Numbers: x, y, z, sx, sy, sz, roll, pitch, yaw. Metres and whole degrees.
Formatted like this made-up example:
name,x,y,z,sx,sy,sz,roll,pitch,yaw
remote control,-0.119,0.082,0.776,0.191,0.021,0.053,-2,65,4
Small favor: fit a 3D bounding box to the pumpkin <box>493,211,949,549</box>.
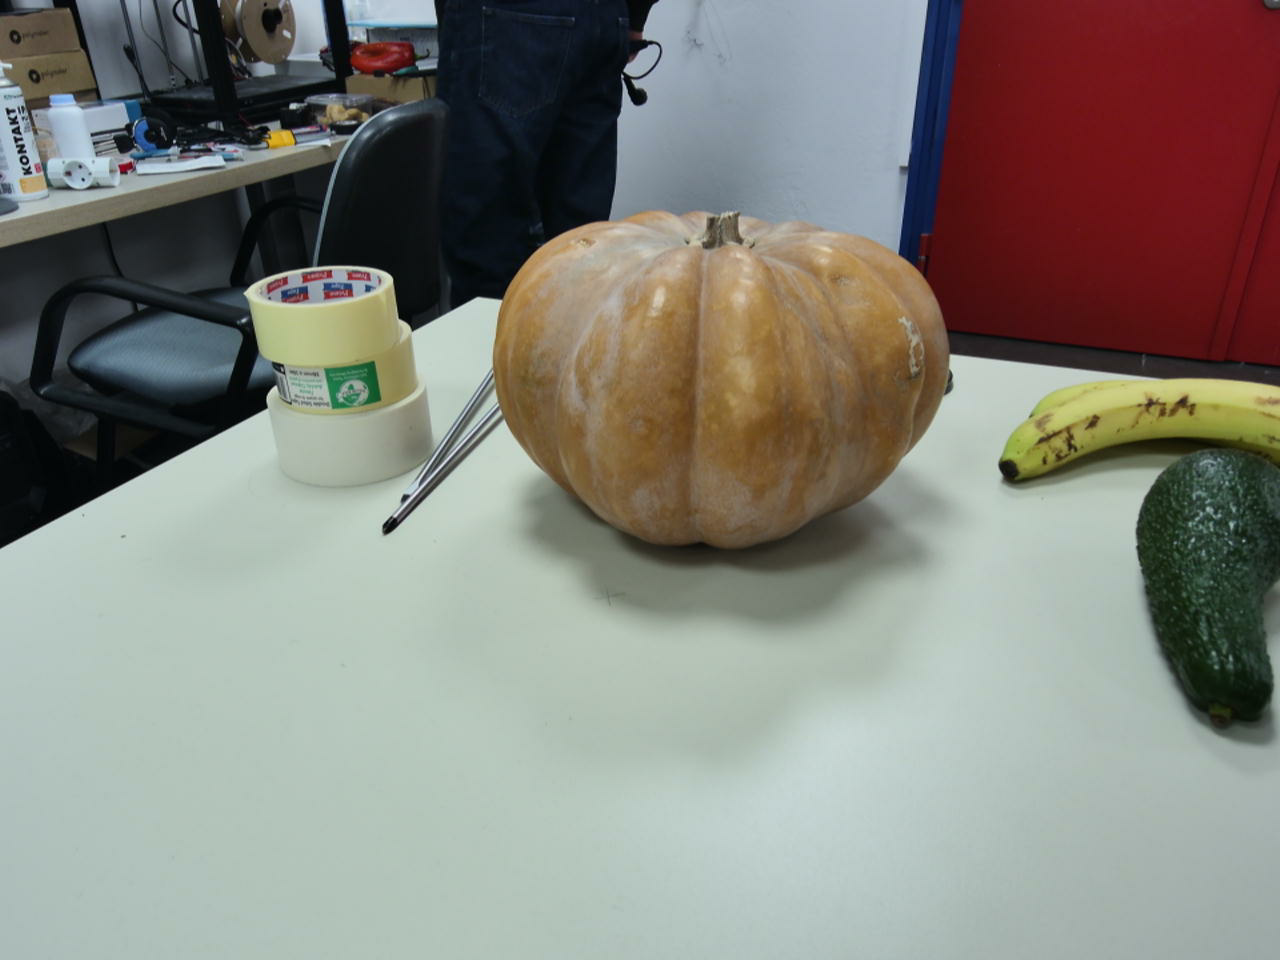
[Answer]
name,x,y,z,sx,sy,sz,roll,pitch,yaw
pumpkin,0.042,-0.070,0.606,0.277,0.181,0.277,0,26,0
